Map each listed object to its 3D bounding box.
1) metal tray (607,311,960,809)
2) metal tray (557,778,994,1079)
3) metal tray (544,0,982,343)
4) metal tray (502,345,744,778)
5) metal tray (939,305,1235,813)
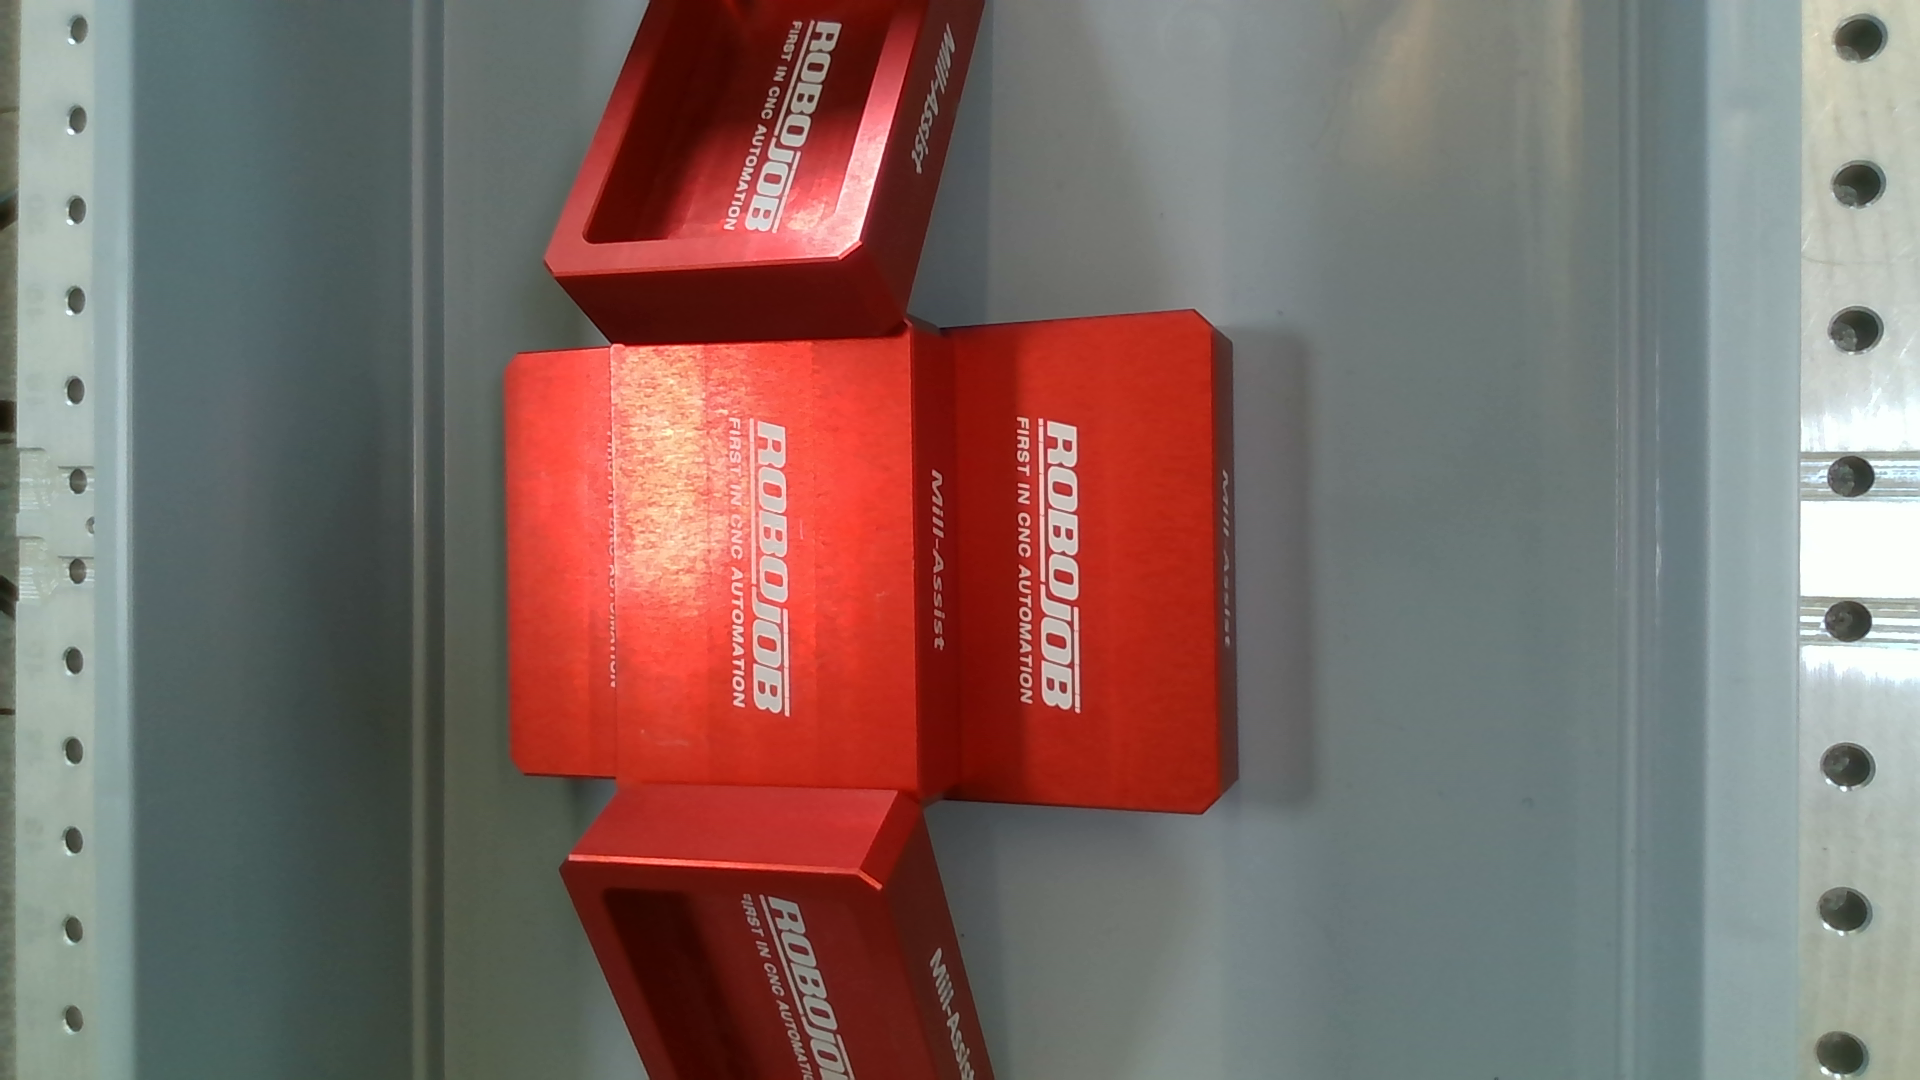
[{"bbox_3d":[-0.048,0.006,0.376,0.090,0.030,0.130,-1,90,20],"label":"metal tray"},{"bbox_3d":[-0.044,0.126,0.374,0.090,0.030,0.130,-2,119,21],"label":"metal tray"},{"bbox_3d":[-0.049,-0.116,0.375,0.090,0.030,0.130,1,61,21],"label":"metal tray"},{"bbox_3d":[-0.093,0.006,0.423,0.090,0.030,0.130,-1,90,20],"label":"metal tray"},{"bbox_3d":[0.028,0.005,0.379,0.090,0.030,0.130,-1,90,20],"label":"metal tray"}]
